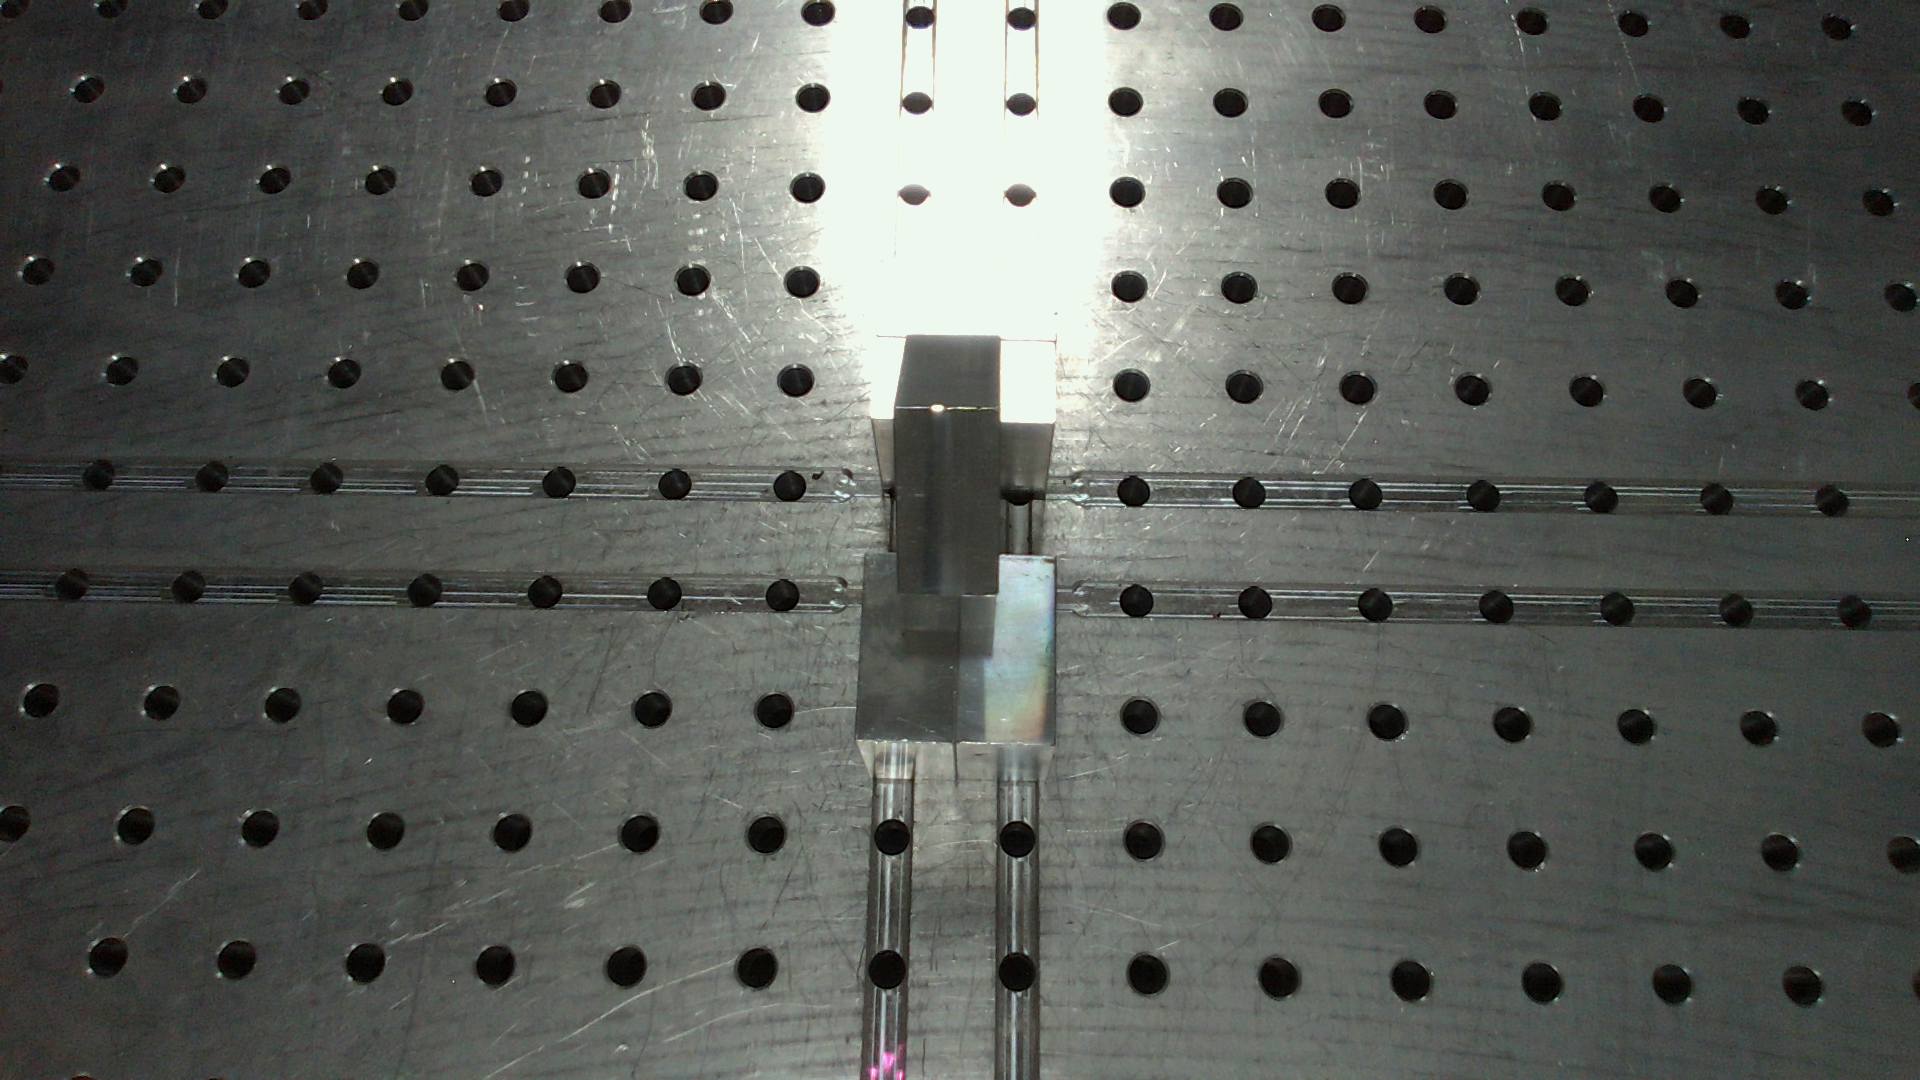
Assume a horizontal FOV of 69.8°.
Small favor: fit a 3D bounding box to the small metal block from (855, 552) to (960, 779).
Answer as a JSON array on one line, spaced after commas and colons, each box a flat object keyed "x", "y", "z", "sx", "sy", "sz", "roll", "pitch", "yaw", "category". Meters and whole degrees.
[{"x": -0.013, "y": 0.035, "z": 0.371, "sx": 0.025, "sy": 0.050, "sz": 0.050, "roll": 1, "pitch": 70, "yaw": 1, "category": "small metal block"}]

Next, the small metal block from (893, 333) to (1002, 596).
[{"x": -0.002, "y": -0.020, "z": 0.347, "sx": 0.025, "sy": 0.050, "sz": 0.050, "roll": 0, "pitch": 27, "yaw": 1, "category": "small metal block"}]

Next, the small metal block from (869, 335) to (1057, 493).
[{"x": 0.001, "y": -0.035, "z": 0.396, "sx": 0.050, "sy": 0.050, "sz": 0.025, "roll": 2, "pitch": 70, "yaw": 1, "category": "small metal block"}]

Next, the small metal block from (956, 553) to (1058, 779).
[{"x": 0.012, "y": 0.035, "z": 0.370, "sx": 0.025, "sy": 0.050, "sz": 0.050, "roll": 1, "pitch": 70, "yaw": 1, "category": "small metal block"}]

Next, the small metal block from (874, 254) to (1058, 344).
[{"x": 0.002, "y": -0.059, "z": 0.405, "sx": 0.050, "sy": 0.050, "sz": 0.025, "roll": 2, "pitch": 70, "yaw": 1, "category": "small metal block"}]
